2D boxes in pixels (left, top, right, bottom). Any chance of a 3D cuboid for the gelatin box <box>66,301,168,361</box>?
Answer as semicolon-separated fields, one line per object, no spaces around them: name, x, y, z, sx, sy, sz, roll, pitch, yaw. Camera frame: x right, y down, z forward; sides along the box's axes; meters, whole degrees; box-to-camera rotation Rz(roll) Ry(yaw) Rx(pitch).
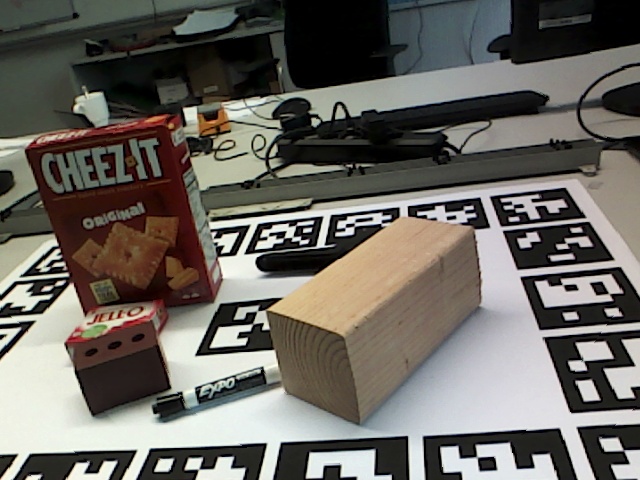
gelatin box;-0.223;0.103;0.685;0.089;0.030;0.073;-7;29;9

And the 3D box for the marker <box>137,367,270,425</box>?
marker;-0.106;0.142;0.563;0.121;0.019;0.020;-16;29;-7

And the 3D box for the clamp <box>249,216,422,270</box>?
clamp;0.035;0.019;0.726;0.202;0.036;0.166;-21;29;-17

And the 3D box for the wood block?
wood block;0.054;0.066;0.578;0.090;0.090;0.205;11;32;42

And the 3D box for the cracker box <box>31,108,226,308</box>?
cracker box;-0.217;-0.033;0.726;0.164;0.213;0.072;-7;26;6

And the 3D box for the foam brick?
foam brick;-0.193;0.125;0.599;0.078;0.051;0.053;-18;29;-12
